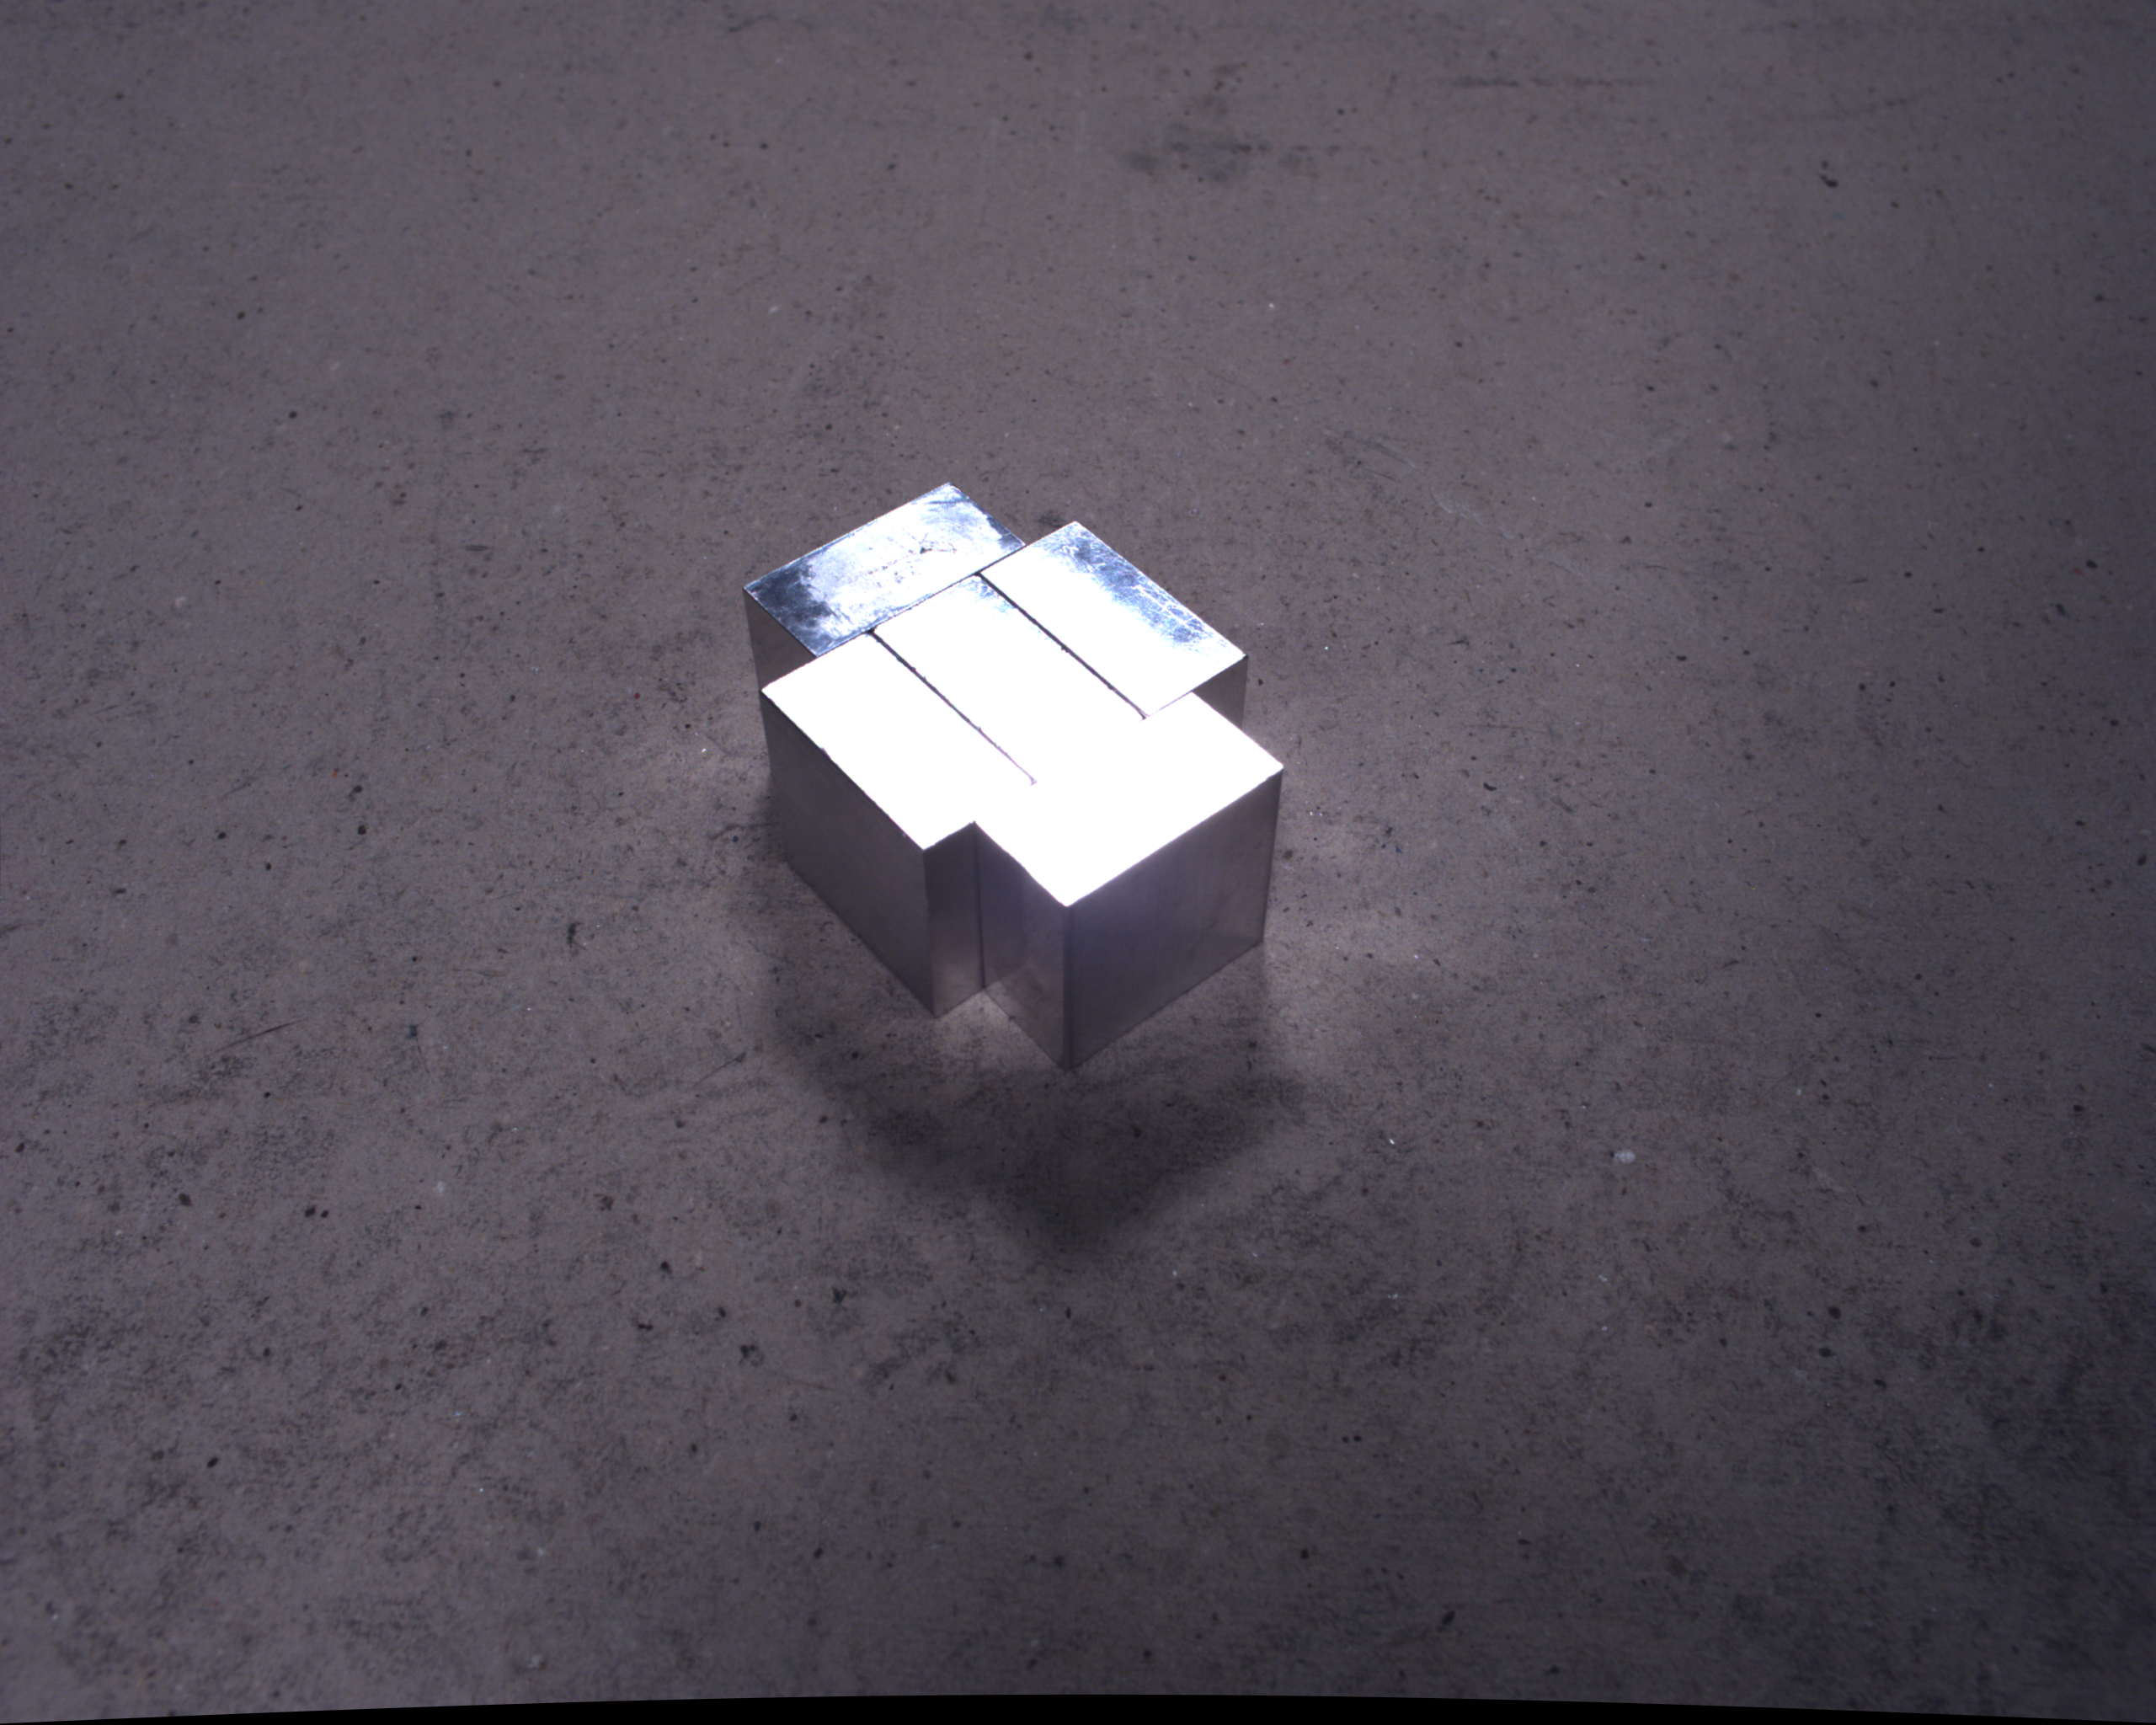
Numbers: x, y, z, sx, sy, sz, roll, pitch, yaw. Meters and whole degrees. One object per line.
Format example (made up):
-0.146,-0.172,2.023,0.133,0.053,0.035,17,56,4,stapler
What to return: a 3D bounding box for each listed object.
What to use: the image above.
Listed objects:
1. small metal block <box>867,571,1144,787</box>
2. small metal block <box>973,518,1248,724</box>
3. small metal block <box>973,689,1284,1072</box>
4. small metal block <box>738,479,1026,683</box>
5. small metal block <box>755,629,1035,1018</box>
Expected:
-0.014,-0.019,0.404,0.025,0.050,0.050,-33,58,-24,small metal block
0.006,-0.032,0.414,0.025,0.050,0.050,-34,58,-25,small metal block
0.009,0.004,0.385,0.050,0.050,0.025,-32,57,-24,small metal block
-0.038,-0.042,0.422,0.050,0.050,0.025,-32,57,-24,small metal block
-0.033,-0.007,0.393,0.025,0.050,0.050,-33,58,-24,small metal block
